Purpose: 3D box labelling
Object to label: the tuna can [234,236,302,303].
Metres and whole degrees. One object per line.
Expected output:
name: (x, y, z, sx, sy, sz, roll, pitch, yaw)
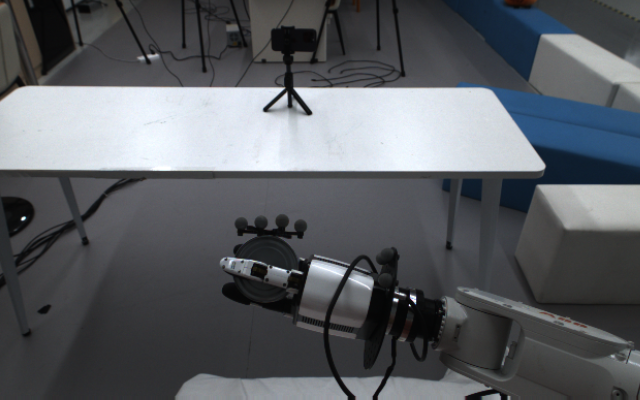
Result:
tuna can: (-0.067, 0.090, 0.630, 0.085, 0.034, 0.085, -1, 77, 4)
